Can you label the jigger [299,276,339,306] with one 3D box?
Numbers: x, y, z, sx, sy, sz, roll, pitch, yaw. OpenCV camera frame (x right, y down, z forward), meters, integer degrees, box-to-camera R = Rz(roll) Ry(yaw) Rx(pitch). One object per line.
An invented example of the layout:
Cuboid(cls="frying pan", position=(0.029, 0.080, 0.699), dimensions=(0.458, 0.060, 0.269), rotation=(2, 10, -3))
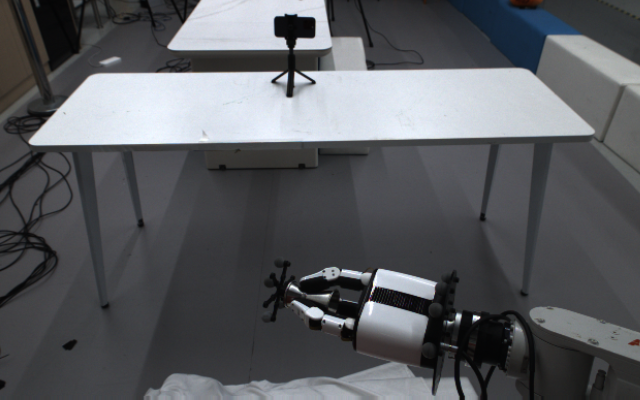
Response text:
Cuboid(cls="jigger", position=(-0.006, 0.138, 0.683), dimensions=(0.071, 0.043, 0.043), rotation=(10, 35, 22))
